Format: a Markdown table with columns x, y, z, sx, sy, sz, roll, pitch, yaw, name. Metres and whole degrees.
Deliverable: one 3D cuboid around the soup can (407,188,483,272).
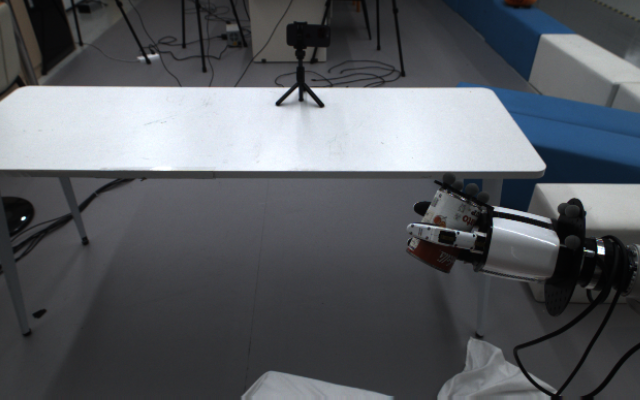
| x | y | z | sx | sy | sz | roll | pitch | yaw | name |
| --- | --- | --- | --- | --- | --- | --- | --- | --- | --- |
| 0.175 | 0.041 | 0.674 | 0.067 | 0.101 | 0.067 | 26 | 5 | -3 | soup can |
